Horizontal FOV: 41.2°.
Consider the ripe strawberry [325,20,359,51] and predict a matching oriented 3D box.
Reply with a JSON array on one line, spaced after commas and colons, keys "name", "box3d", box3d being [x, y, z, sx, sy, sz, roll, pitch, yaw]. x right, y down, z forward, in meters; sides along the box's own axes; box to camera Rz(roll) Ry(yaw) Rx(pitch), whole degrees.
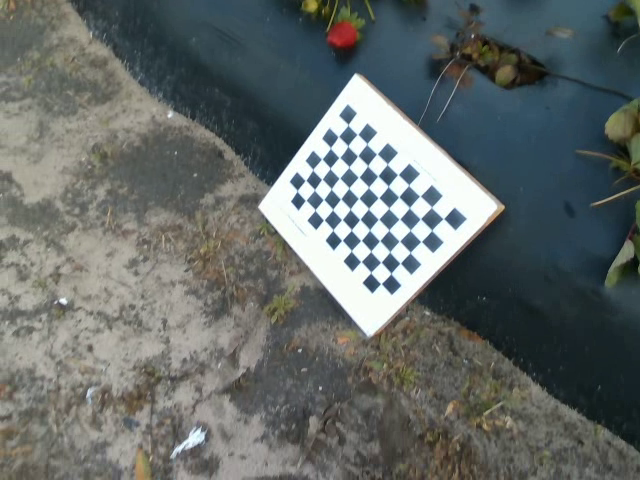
[{"name": "ripe strawberry", "box3d": [0.037, -0.307, 1.238, 0.045, 0.042, 0.054, -10, 18, 36]}]
